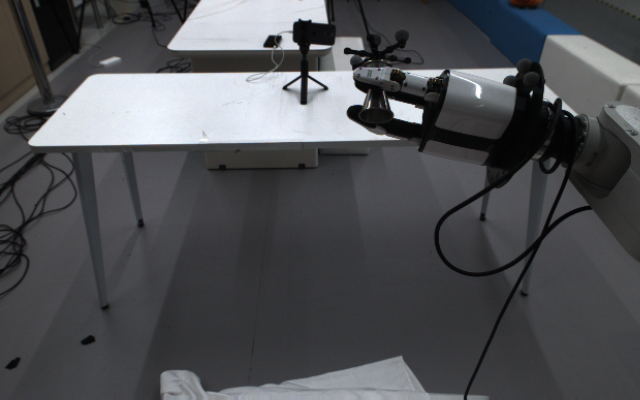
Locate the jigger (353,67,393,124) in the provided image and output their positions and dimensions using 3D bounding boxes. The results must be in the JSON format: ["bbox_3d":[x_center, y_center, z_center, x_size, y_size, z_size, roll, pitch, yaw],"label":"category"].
[{"bbox_3d":[0.070,-0.137,0.612,0.043,0.043,0.071,3,75,1],"label":"jigger"}]
